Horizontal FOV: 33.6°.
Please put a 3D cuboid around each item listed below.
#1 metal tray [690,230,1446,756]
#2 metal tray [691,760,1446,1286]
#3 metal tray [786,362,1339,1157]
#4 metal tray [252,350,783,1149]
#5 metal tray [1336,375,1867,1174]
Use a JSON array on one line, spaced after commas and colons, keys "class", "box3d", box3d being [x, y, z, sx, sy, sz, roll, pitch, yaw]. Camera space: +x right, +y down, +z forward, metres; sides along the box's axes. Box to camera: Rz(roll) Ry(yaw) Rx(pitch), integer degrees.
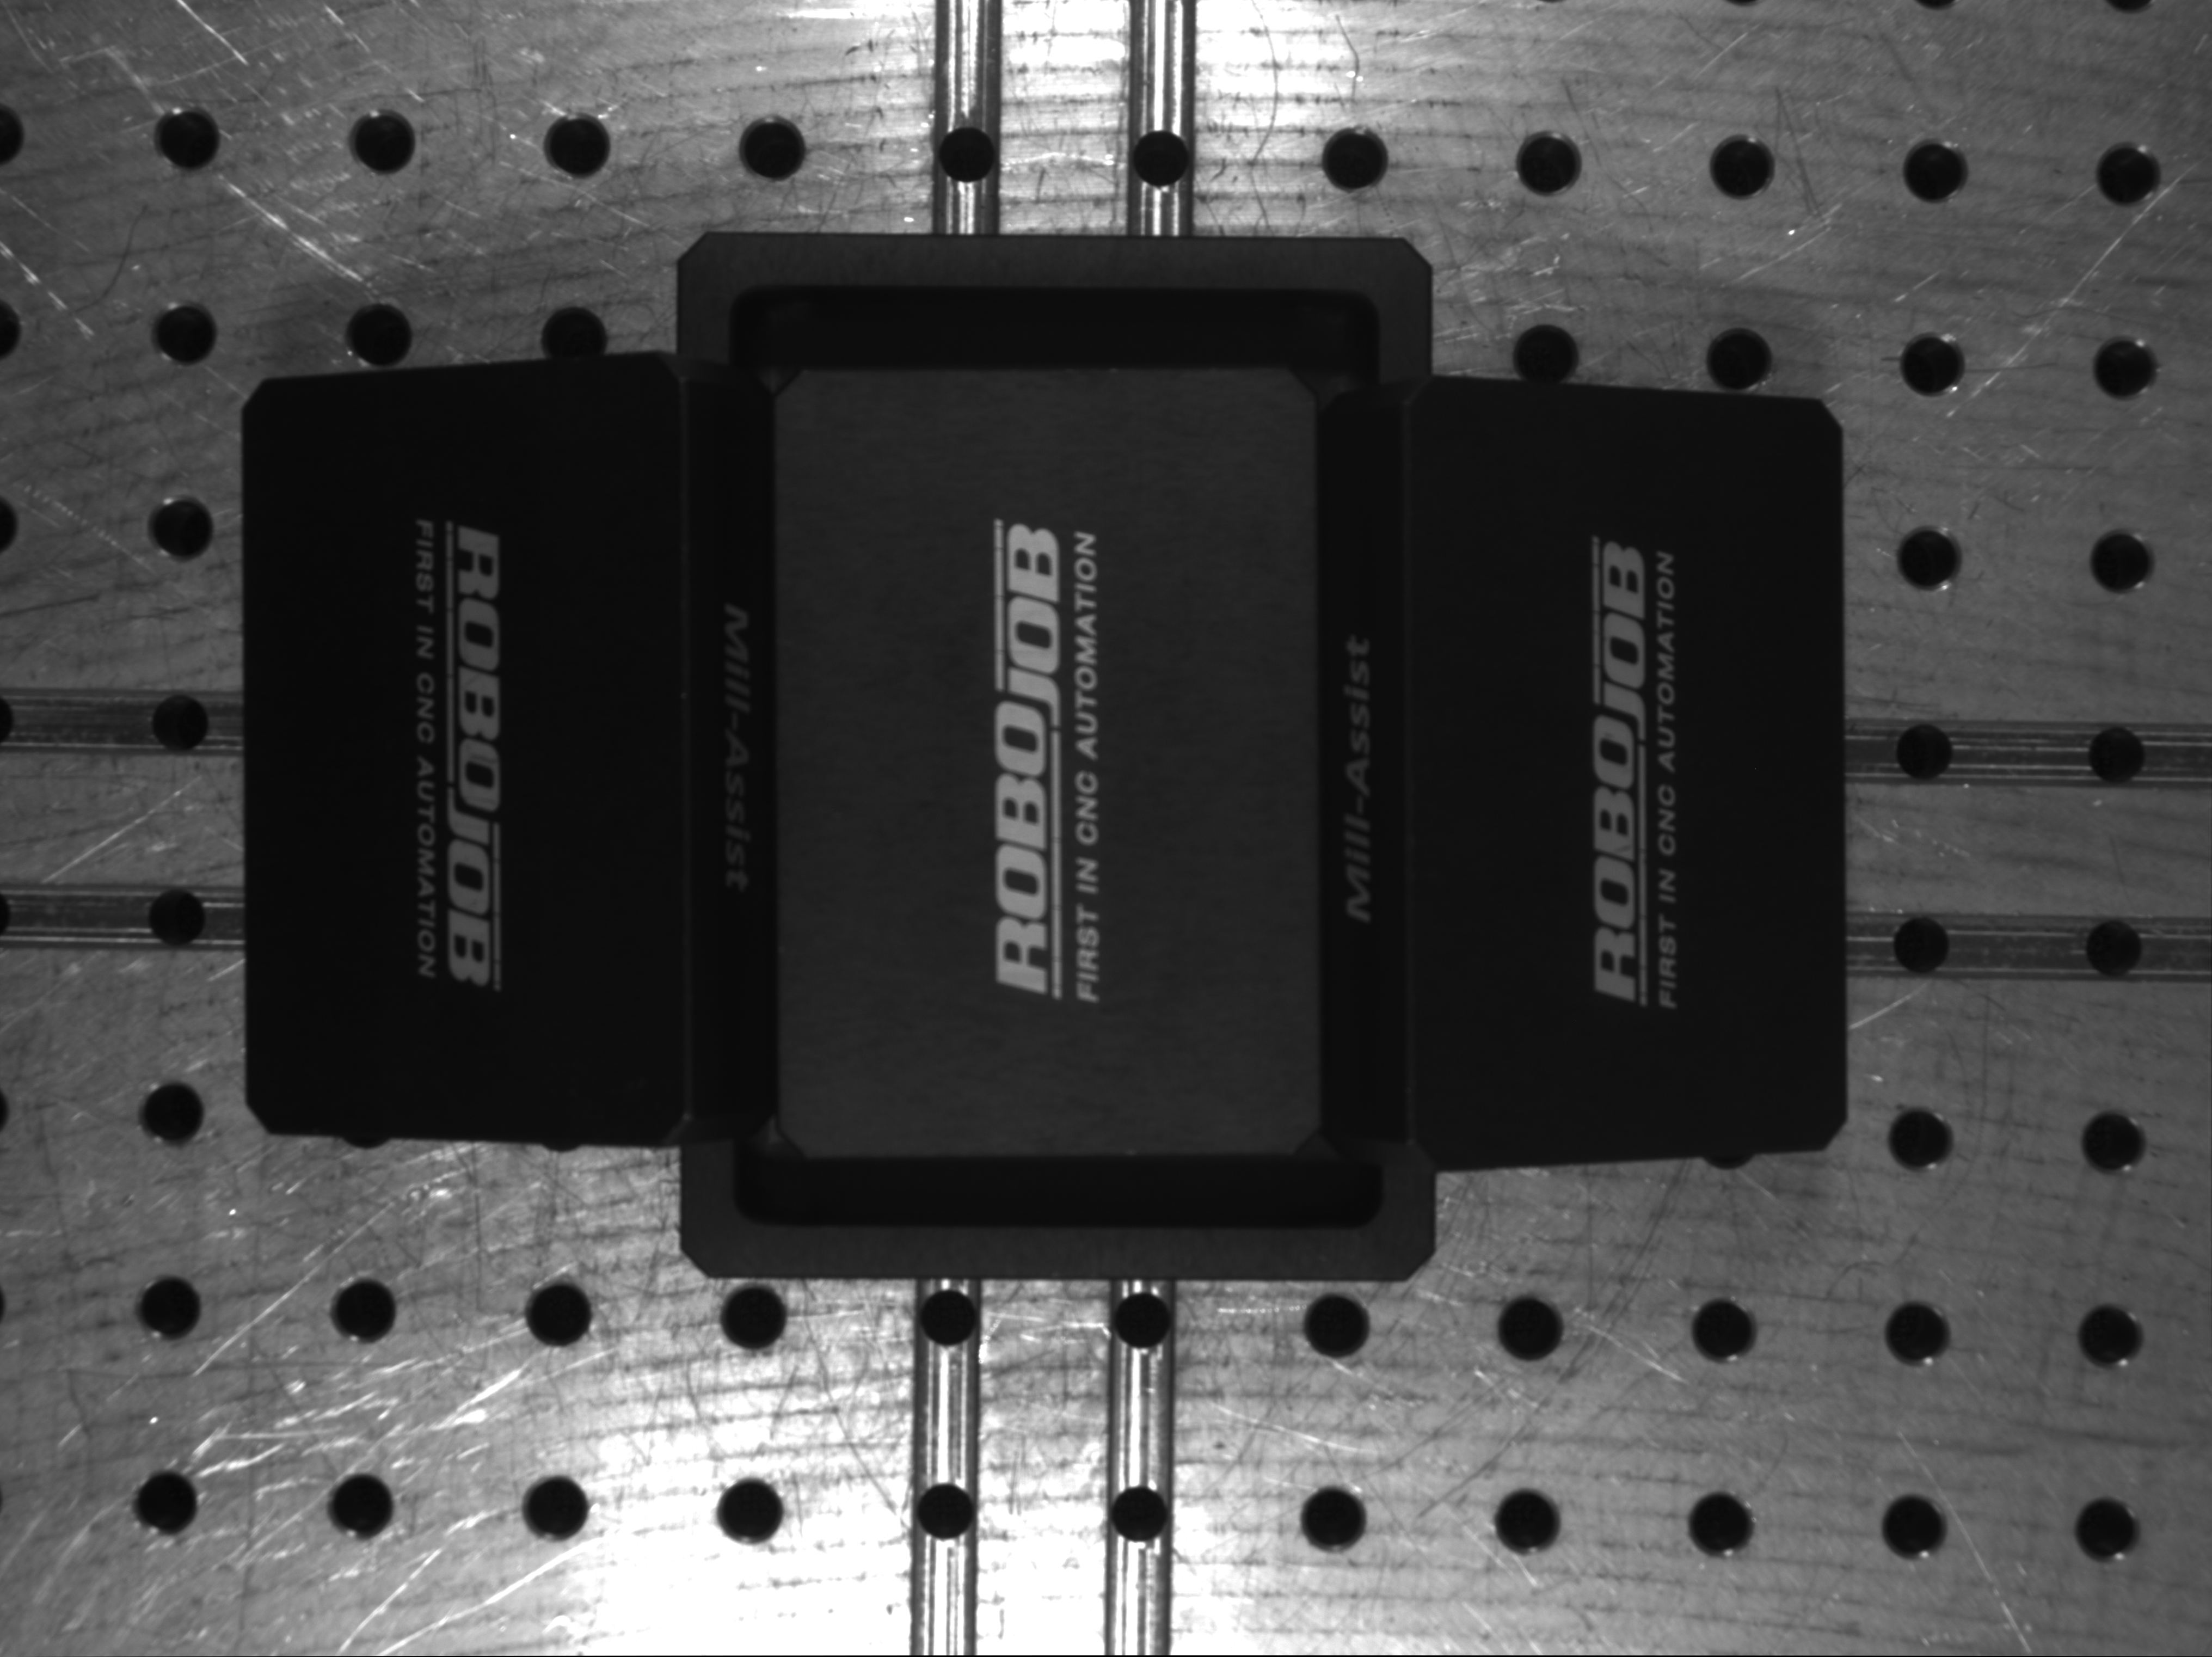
[{"class": "metal tray", "box3d": [-0.007, -0.058, 0.645, 0.130, 0.030, 0.090, 0, 90, -1]}, {"class": "metal tray", "box3d": [-0.006, 0.033, 0.645, 0.130, 0.030, 0.090, 0, 90, -1]}, {"class": "metal tray", "box3d": [-0.007, -0.011, 0.615, 0.090, 0.030, 0.130, 0, 90, -1]}, {"class": "metal tray", "box3d": [-0.101, -0.013, 0.626, 0.090, 0.030, 0.130, 0, 90, 26]}, {"class": "metal tray", "box3d": [0.085, -0.009, 0.627, 0.090, 0.030, 0.130, -1, 90, -28]}]
